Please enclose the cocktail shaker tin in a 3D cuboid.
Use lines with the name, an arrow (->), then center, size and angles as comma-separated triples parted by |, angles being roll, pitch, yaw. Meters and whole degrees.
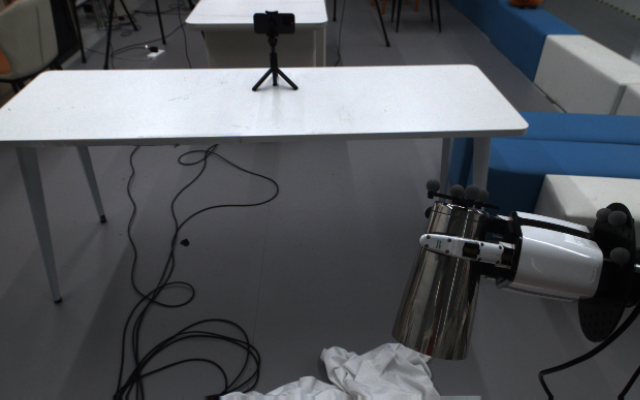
cocktail shaker tin -> 0.153, 0.089, 0.586 | 0.093, 0.170, 0.093 | 12, 3, -1
